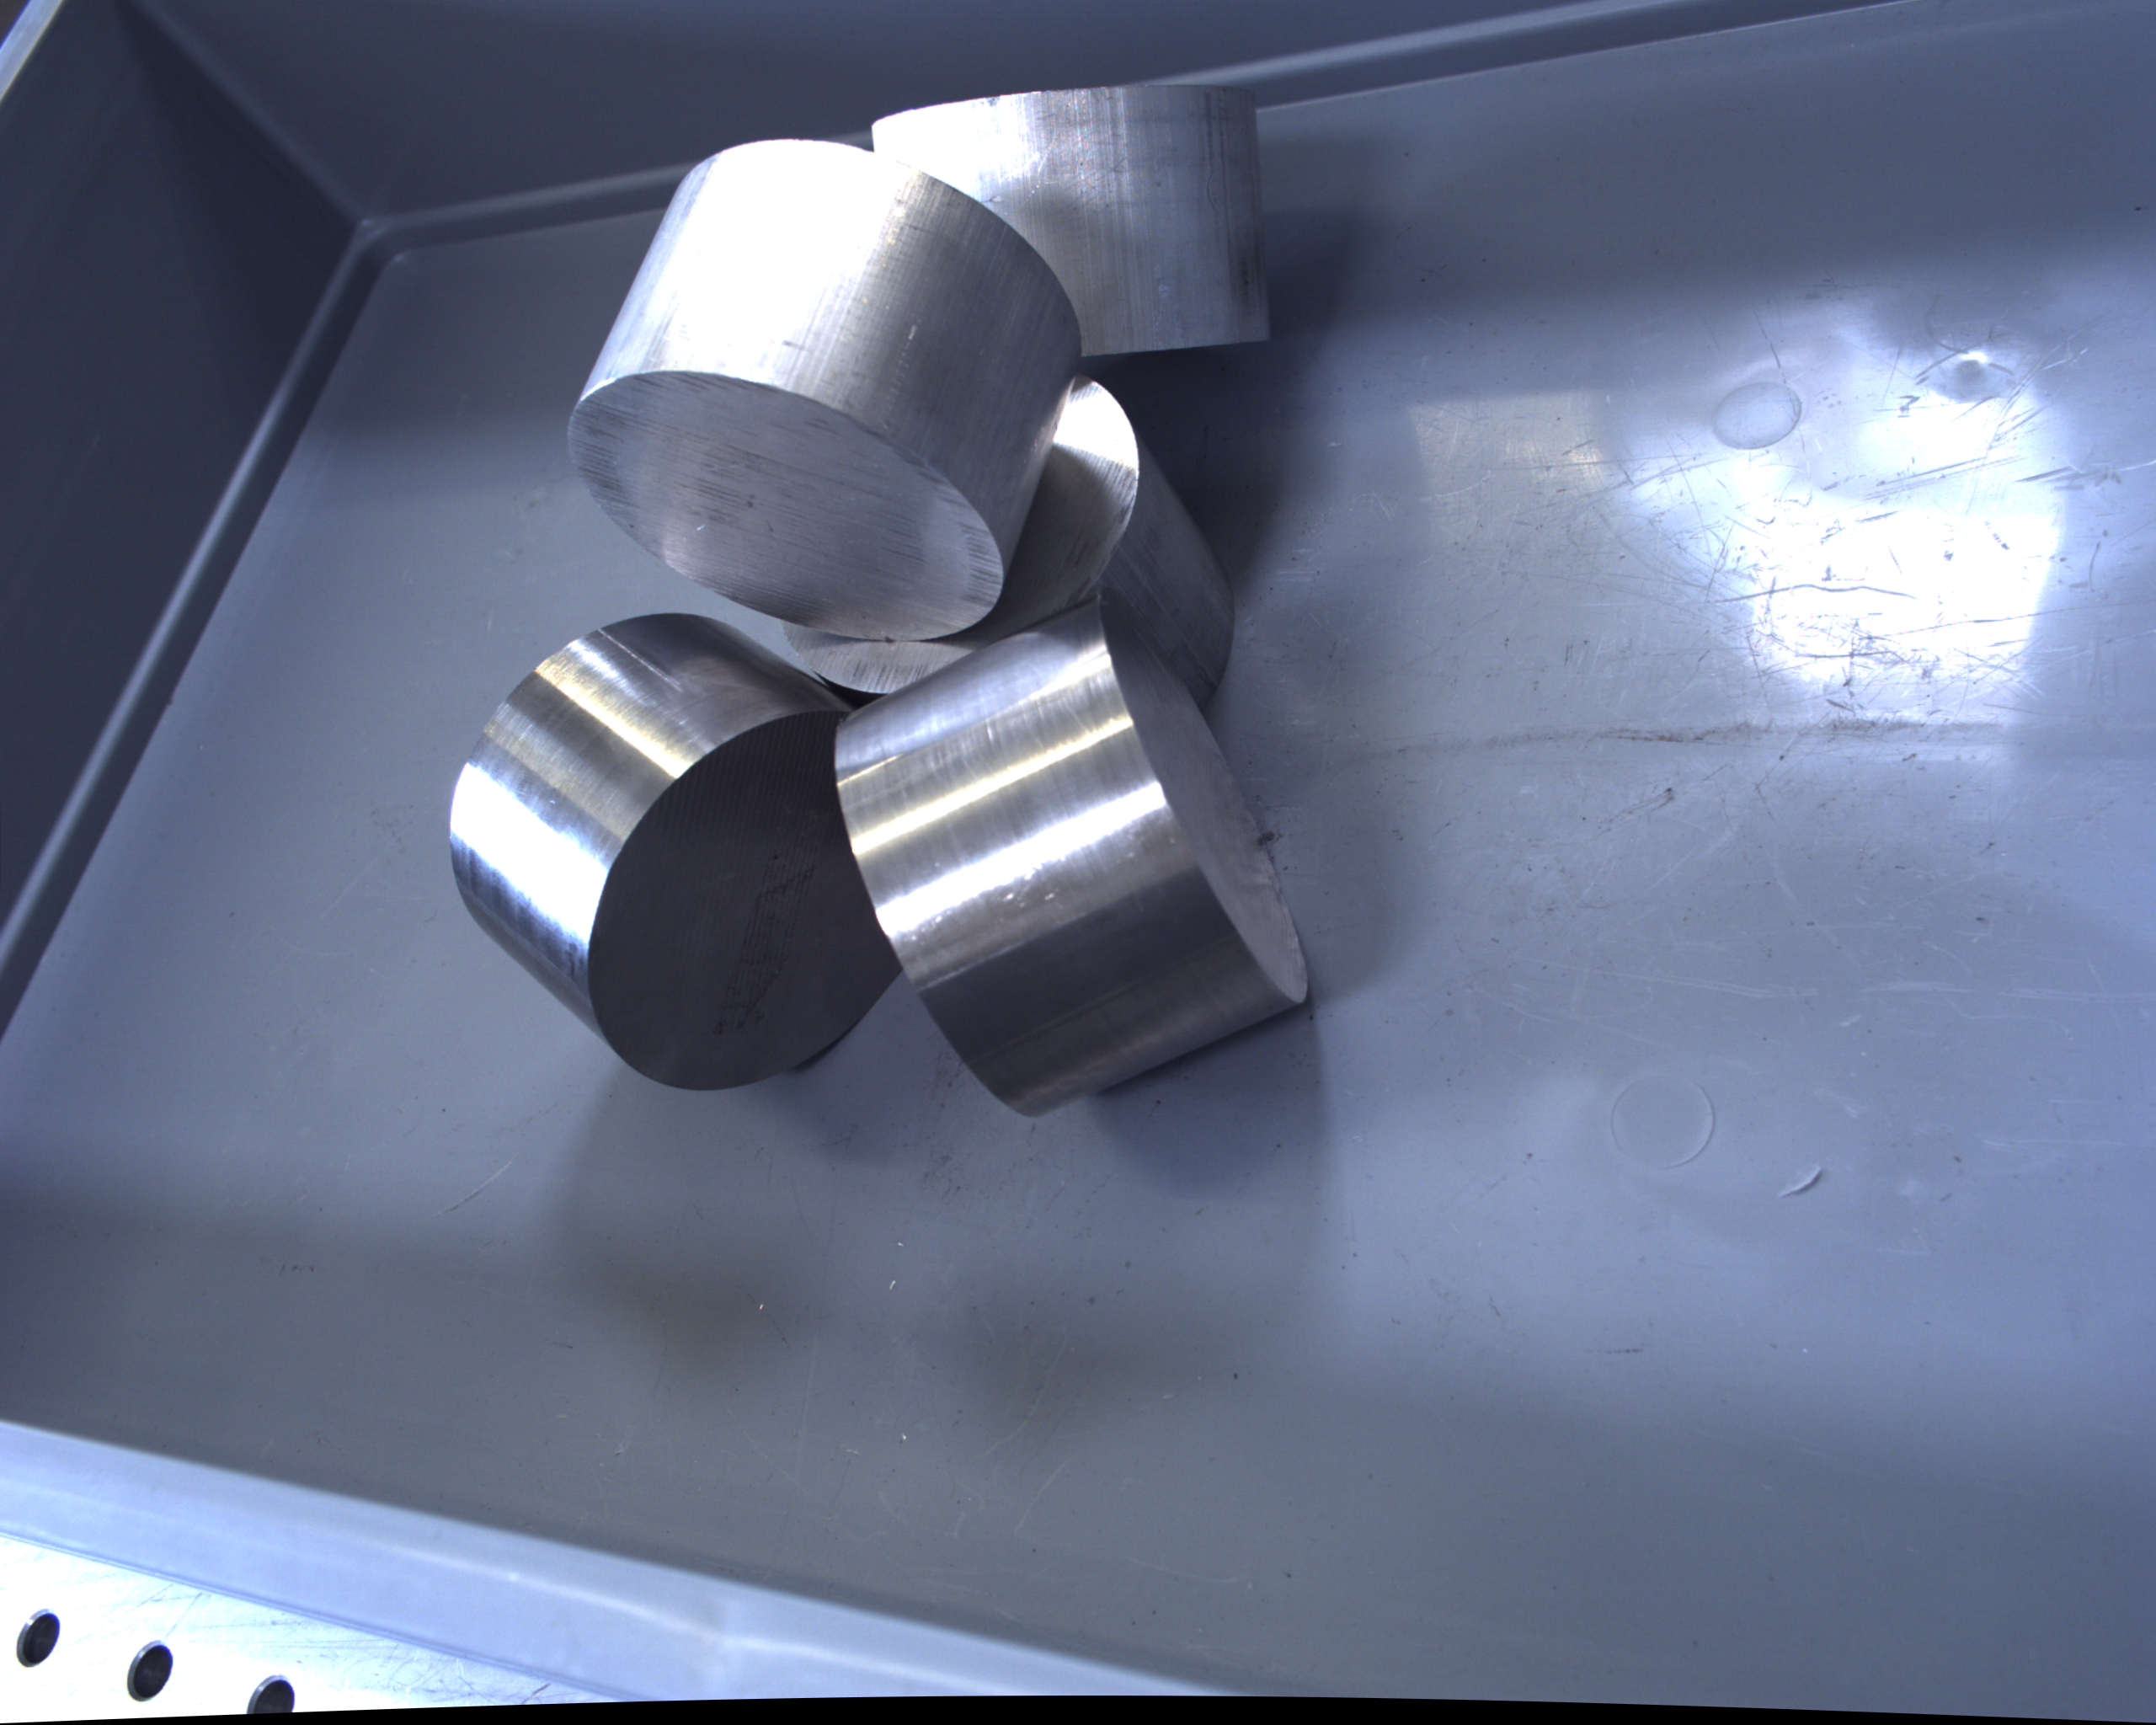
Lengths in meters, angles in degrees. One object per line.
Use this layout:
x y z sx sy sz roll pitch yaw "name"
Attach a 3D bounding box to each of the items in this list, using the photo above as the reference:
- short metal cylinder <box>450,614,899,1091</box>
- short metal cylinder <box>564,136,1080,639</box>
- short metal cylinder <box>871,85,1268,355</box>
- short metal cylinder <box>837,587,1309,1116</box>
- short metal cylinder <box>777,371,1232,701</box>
-0.074 -0.002 0.408 0.050 0.080 0.080 33 80 38 "short metal cylinder"
-0.045 -0.083 0.379 0.080 0.080 0.050 3 64 30 "short metal cylinder"
-0.001 -0.133 0.443 0.080 0.080 0.050 4 106 30 "short metal cylinder"
0.001 -0.002 0.369 0.050 0.080 0.080 -26 53 13 "short metal cylinder"
-0.015 -0.056 0.429 0.080 0.050 0.080 -13 56 21 "short metal cylinder"
